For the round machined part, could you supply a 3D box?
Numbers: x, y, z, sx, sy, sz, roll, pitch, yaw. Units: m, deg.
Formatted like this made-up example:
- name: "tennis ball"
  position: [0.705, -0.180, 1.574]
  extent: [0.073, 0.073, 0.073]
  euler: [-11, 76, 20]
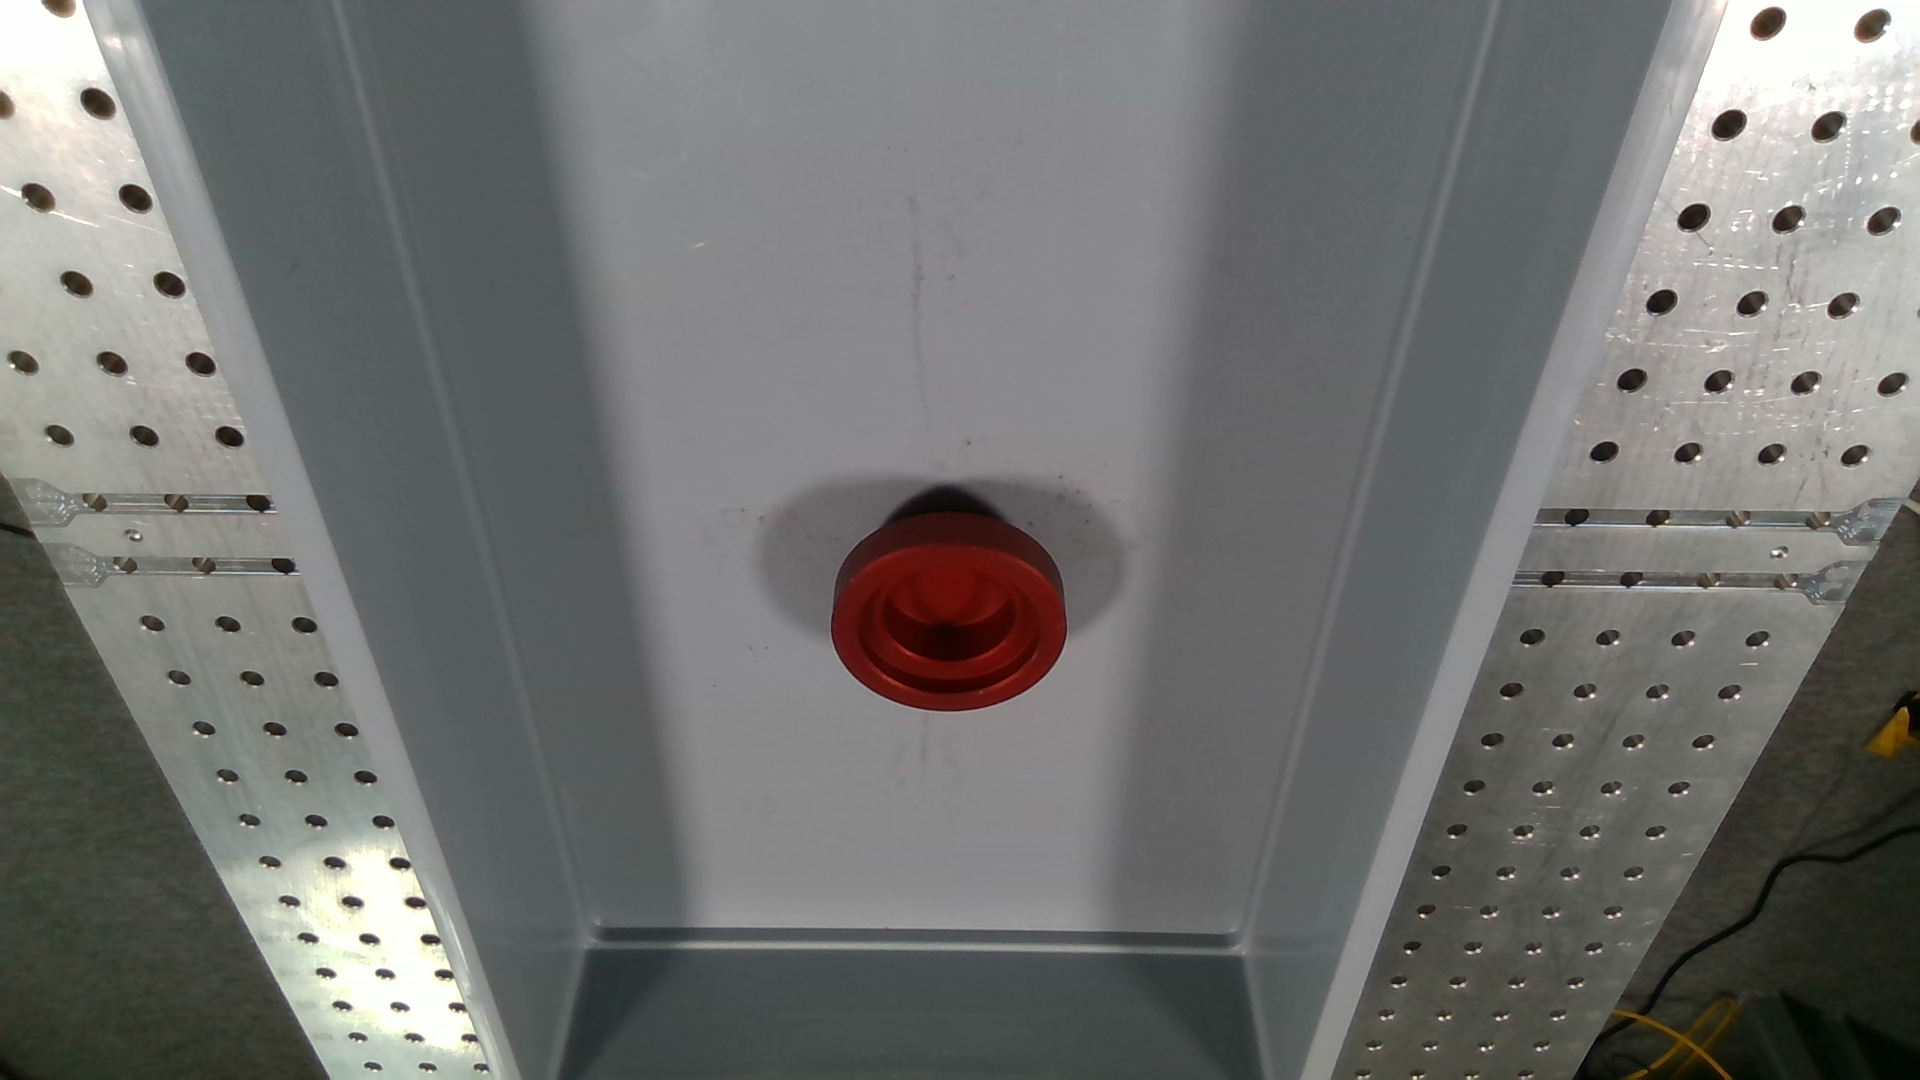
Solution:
- name: "round machined part"
  position: [-0.005, 0.025, 0.585]
  extent: [0.098, 0.042, 0.098]
  euler: [0, 130, 0]
